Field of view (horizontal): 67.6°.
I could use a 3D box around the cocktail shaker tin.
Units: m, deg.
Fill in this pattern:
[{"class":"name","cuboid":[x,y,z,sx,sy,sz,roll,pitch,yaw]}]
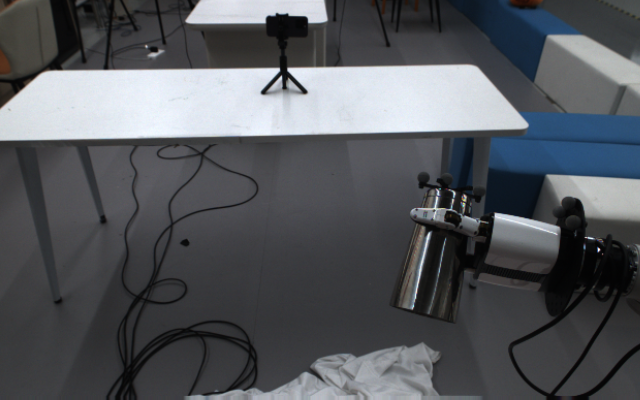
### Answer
[{"class":"cocktail shaker tin","cuboid":[0.163,0.071,0.671,0.093,0.093,0.170,13,77,15]}]
